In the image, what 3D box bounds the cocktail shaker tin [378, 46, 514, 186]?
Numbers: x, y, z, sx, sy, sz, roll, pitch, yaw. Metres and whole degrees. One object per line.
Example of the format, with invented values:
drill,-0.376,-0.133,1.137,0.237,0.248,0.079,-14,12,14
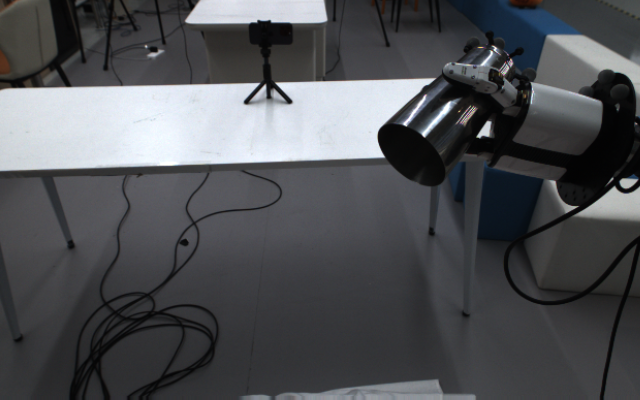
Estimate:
cocktail shaker tin,0.157,-0.110,0.568,0.093,0.093,0.170,32,66,35
